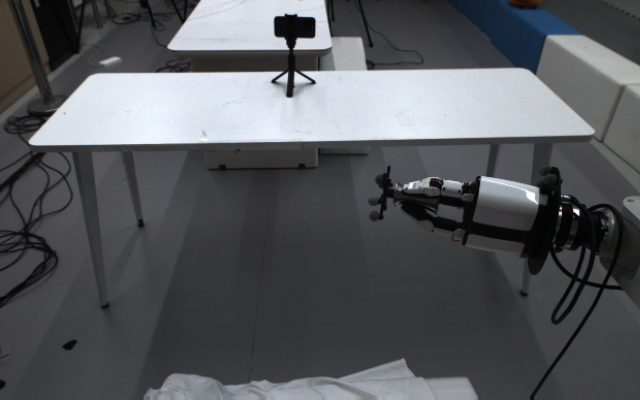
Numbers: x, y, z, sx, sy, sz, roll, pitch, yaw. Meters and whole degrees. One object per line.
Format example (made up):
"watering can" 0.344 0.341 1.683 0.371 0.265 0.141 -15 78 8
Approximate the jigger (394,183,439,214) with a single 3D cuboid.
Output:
"jigger" 0.158 -0.008 0.756 0.071 0.043 0.043 10 35 15
